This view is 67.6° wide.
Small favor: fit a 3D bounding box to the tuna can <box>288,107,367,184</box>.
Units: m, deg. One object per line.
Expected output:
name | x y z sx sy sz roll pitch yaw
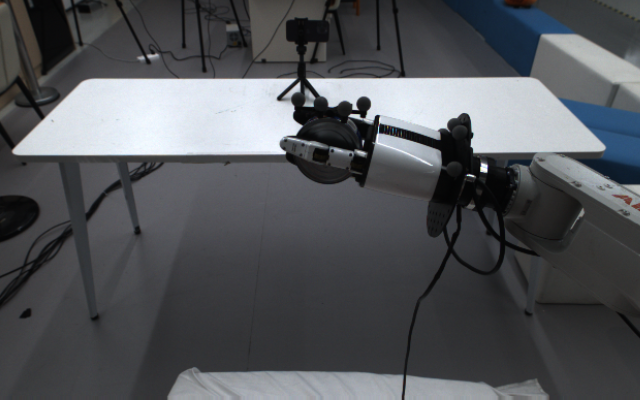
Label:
tuna can | 0.012 -0.066 0.609 0.085 0.085 0.034 6 22 6
